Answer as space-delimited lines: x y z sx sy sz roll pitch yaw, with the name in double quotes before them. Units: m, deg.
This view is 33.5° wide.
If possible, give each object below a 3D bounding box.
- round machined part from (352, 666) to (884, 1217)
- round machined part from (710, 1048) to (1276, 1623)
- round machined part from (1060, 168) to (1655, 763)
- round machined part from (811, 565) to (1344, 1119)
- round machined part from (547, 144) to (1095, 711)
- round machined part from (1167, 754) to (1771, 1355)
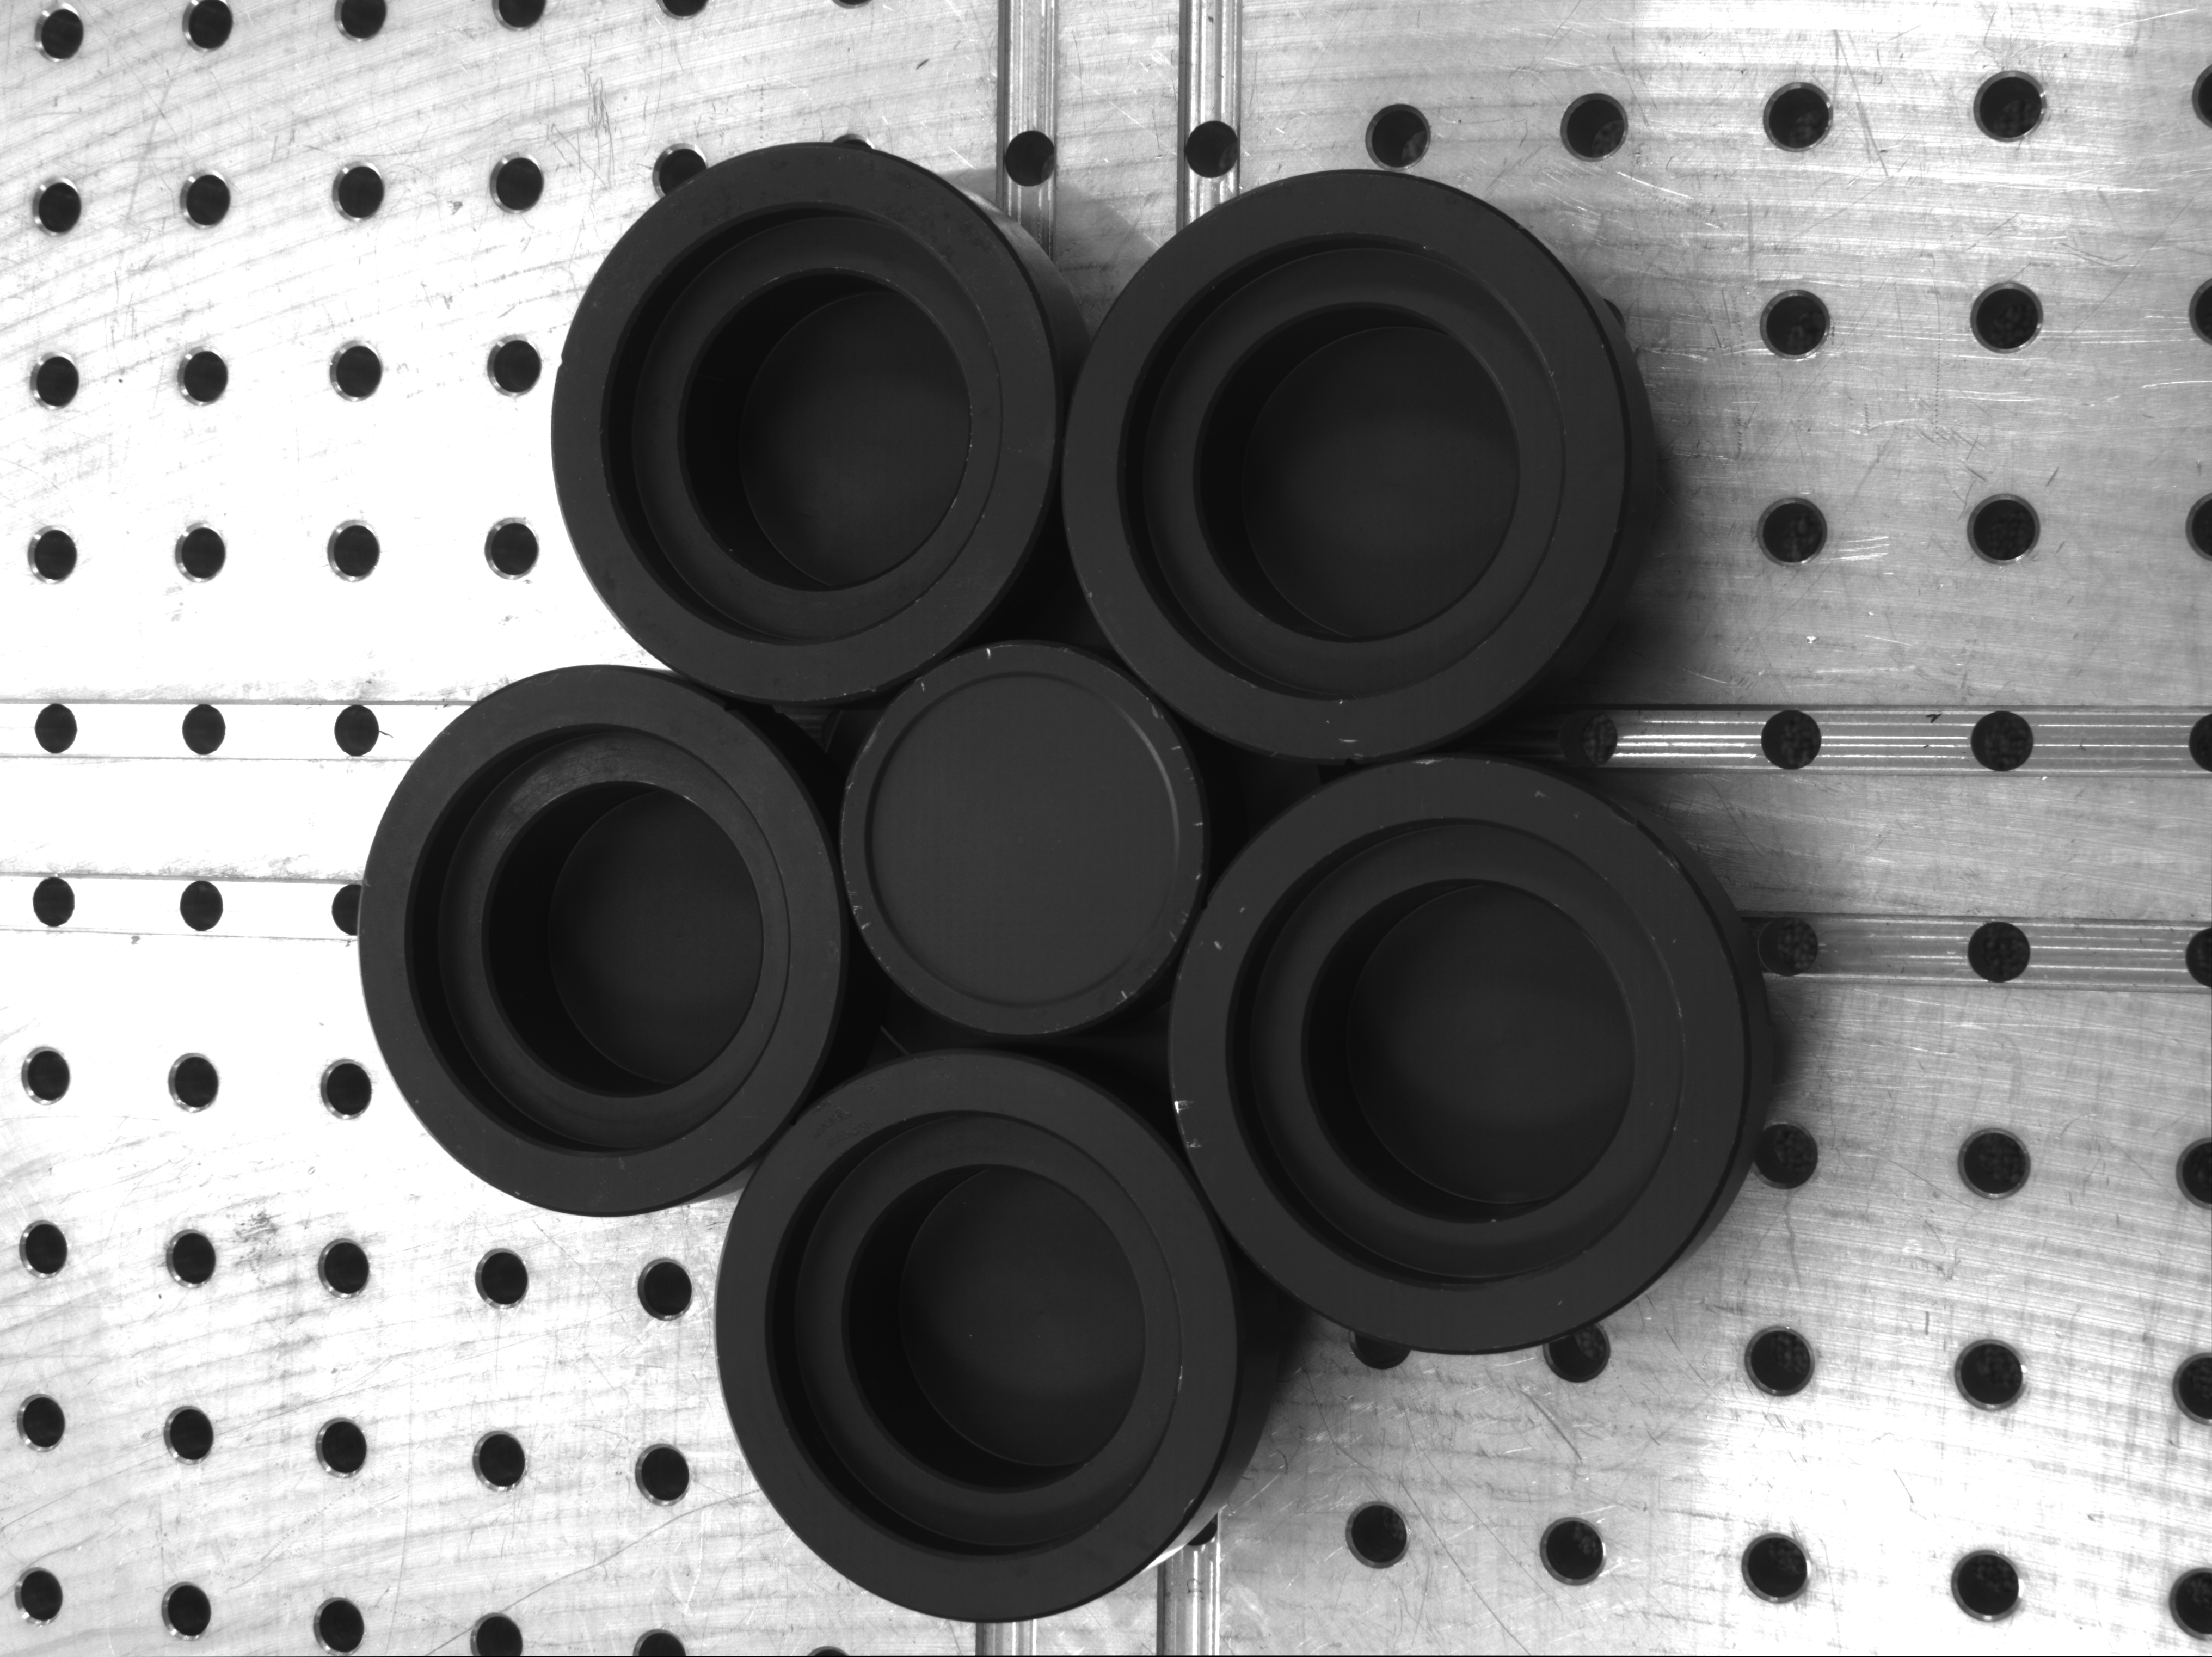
"round machined part" -0.084 0.020 0.671 0.098 0.042 0.098 0 90 20
"round machined part" -0.017 0.087 0.646 0.098 0.042 0.098 0 90 20
"round machined part" 0.045 -0.060 0.624 0.098 0.042 0.098 0 90 20
"round machined part" -0.008 0.002 0.643 0.098 0.042 0.098 0 90 20
"round machined part" -0.047 -0.070 0.657 0.098 0.042 0.098 0 90 20
"round machined part" 0.063 0.037 0.617 0.098 0.042 0.098 0 90 20
